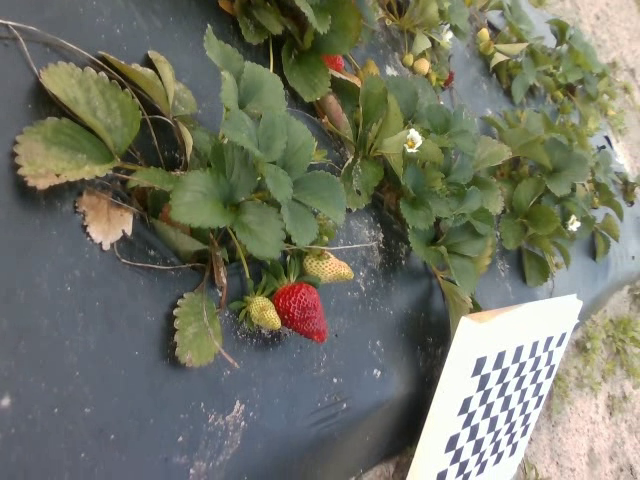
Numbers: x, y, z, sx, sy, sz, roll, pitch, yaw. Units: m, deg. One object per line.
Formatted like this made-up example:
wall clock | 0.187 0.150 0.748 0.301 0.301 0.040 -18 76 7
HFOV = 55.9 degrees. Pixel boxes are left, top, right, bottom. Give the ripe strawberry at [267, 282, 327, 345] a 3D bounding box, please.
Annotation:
ripe strawberry | -0.012 0.061 0.459 0.046 0.046 0.059 -7 46 -44
